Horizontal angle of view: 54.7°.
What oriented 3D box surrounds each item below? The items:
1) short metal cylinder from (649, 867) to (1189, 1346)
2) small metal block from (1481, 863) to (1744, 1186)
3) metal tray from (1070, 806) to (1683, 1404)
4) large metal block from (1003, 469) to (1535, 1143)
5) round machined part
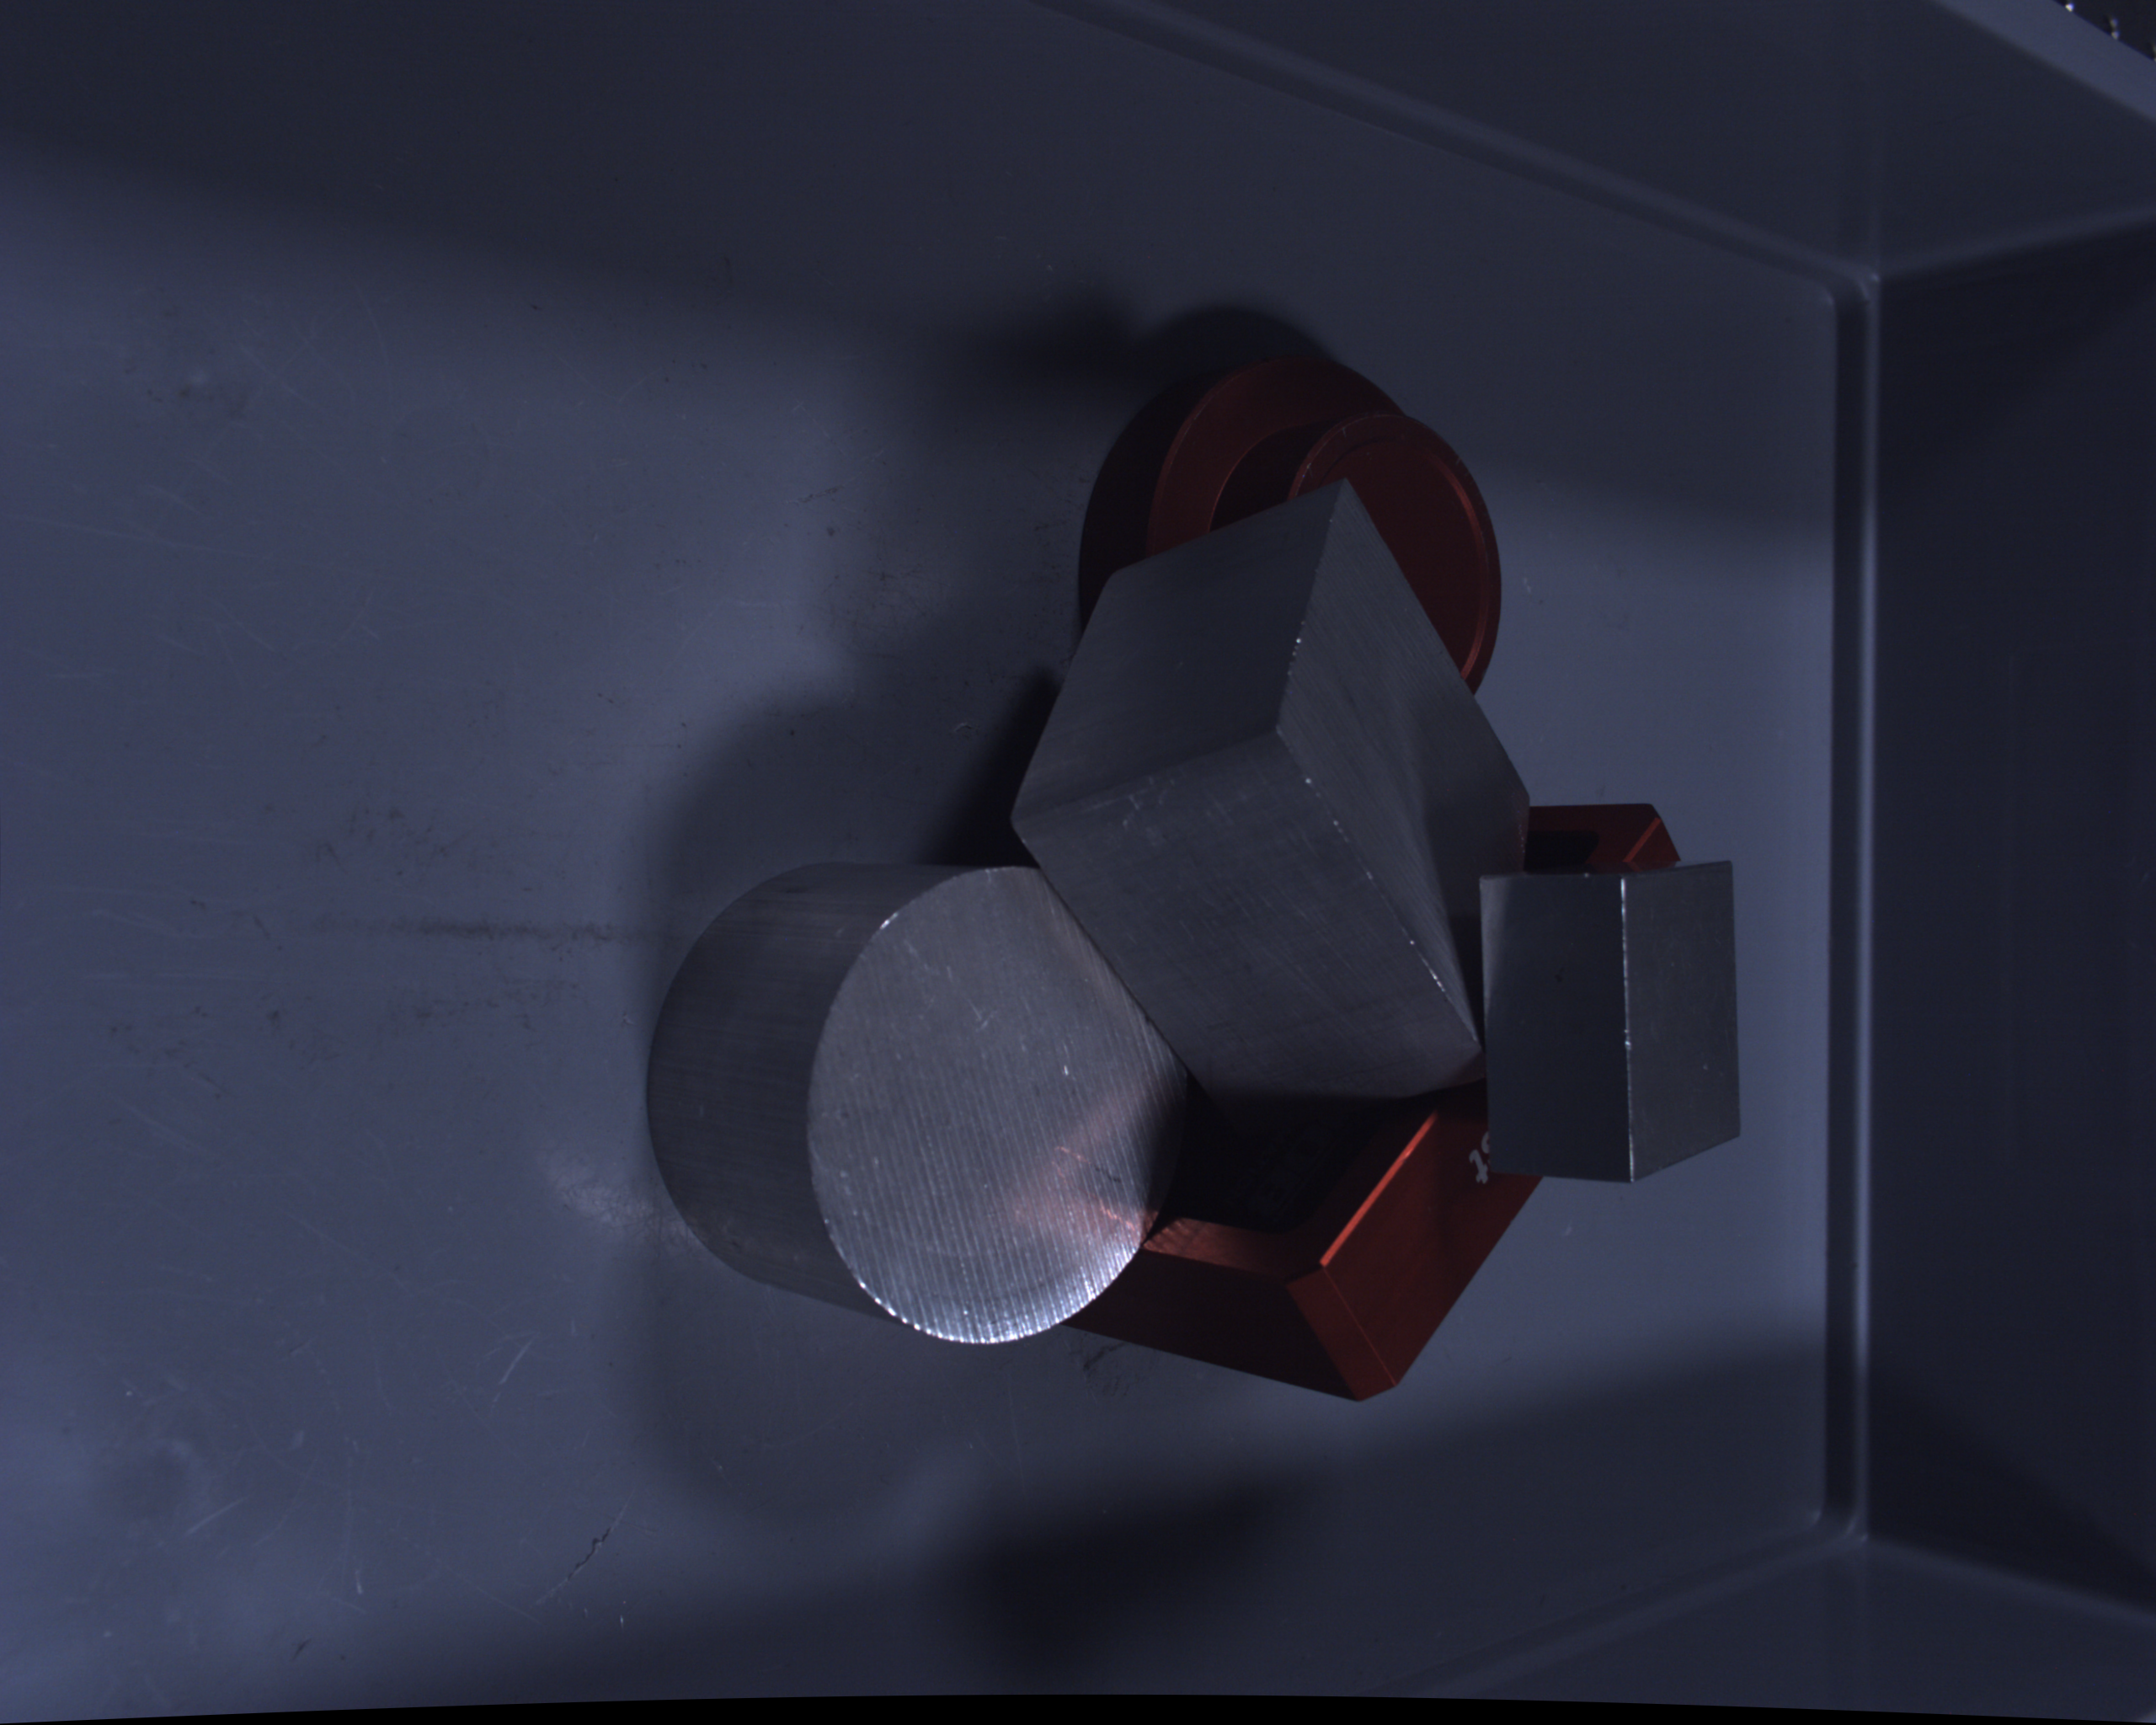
[{"bbox_3d":[-0.027,0.040,0.367,0.081,0.050,0.079,0,90,-40],"label":"short metal cylinder"},{"bbox_3d":[0.093,0.026,0.361,0.050,0.025,0.050,-4,92,-53],"label":"small metal block"},{"bbox_3d":[0.054,0.040,0.409,0.131,0.090,0.030,-46,117,-31],"label":"metal tray"},{"bbox_3d":[0.039,-0.010,0.376,0.080,0.050,0.080,54,34,-27],"label":"large metal block"},{"bbox_3d":[0.051,-0.058,0.438,0.099,0.042,0.097,0,90,-40],"label":"round machined part"}]
